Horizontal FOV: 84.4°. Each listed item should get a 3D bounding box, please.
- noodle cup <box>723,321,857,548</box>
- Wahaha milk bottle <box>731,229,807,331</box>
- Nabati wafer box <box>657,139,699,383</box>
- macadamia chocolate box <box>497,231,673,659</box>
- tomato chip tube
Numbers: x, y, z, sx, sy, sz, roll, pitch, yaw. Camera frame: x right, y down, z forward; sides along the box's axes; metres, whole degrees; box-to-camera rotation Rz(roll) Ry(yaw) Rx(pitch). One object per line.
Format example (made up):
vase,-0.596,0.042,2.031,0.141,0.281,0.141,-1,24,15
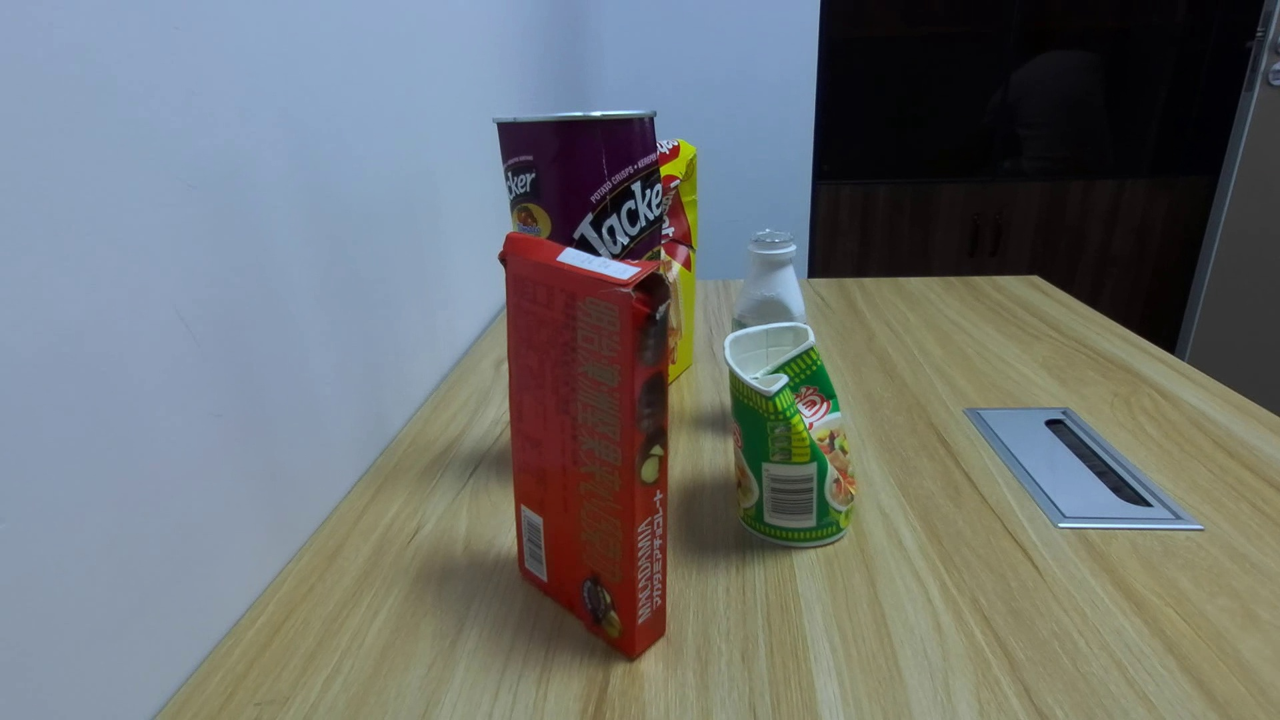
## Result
noodle cup,0.090,0.043,0.412,0.083,0.122,0.075,-26,23,-26
Wahaha milk bottle,0.094,-0.018,0.514,0.055,0.149,0.055,0,24,0
Nabati wafer box,0.010,-0.077,0.598,0.042,0.204,0.107,10,23,28
macadamia chocolate box,-0.028,0.039,0.339,0.027,0.187,0.102,-17,25,-42
tomato chip tube,-0.030,-0.033,0.458,0.077,0.235,0.076,8,21,35
